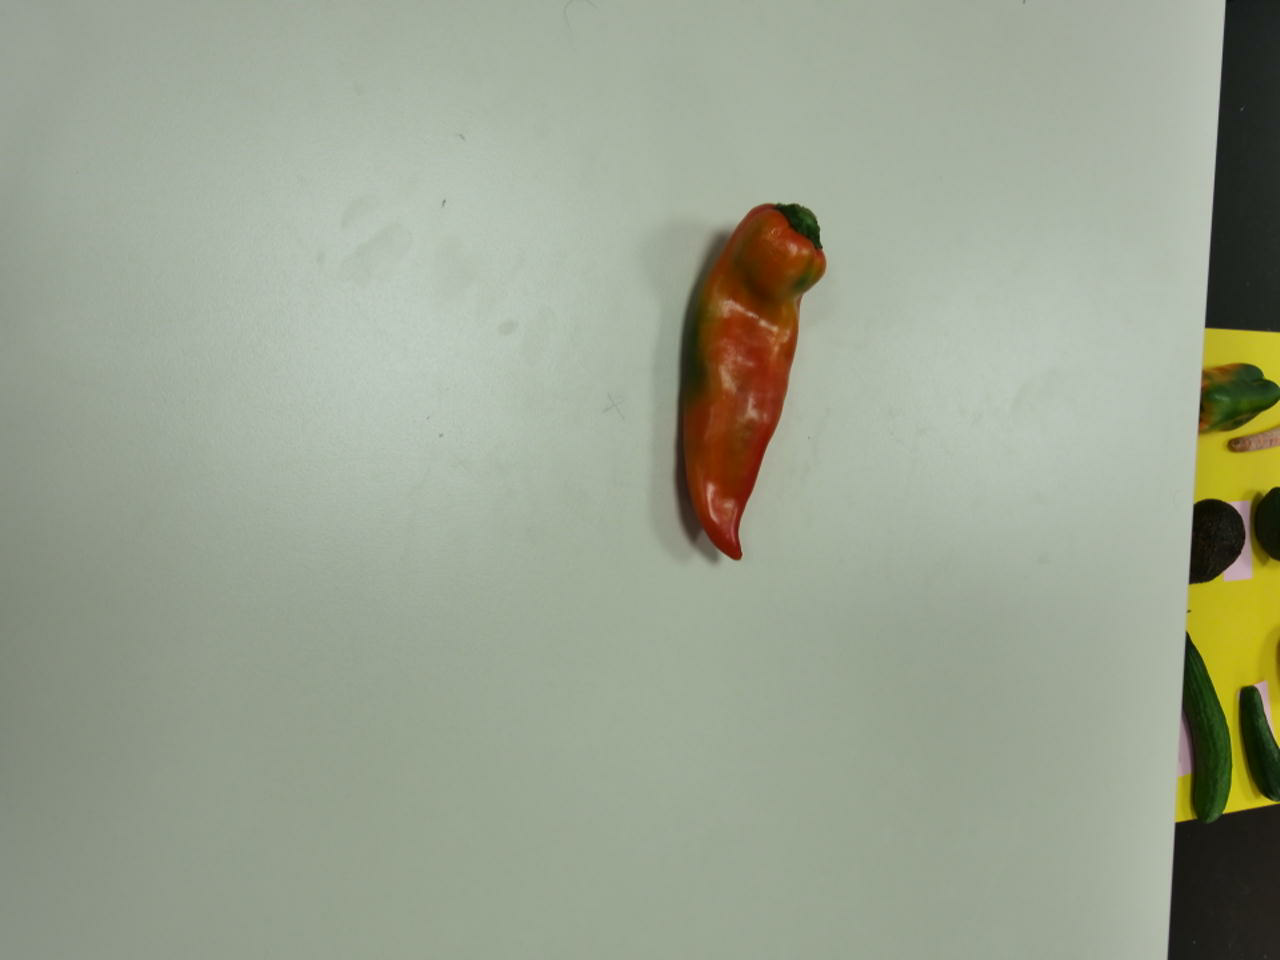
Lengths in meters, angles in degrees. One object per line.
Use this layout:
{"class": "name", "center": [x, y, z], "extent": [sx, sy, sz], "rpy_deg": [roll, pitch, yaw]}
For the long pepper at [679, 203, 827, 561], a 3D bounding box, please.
{"class": "long pepper", "center": [0.062, -0.056, 0.557], "extent": [0.066, 0.065, 0.199], "rpy_deg": [10, 87, -22]}
